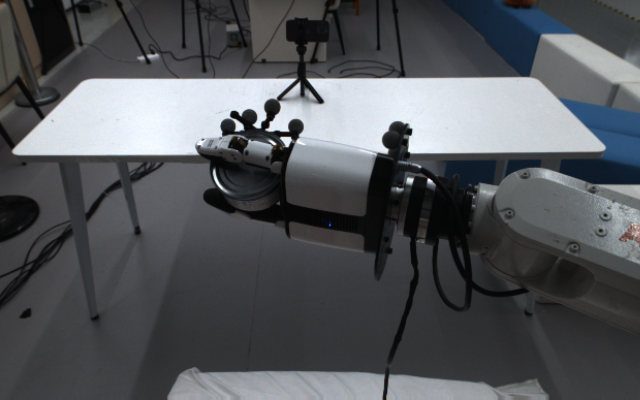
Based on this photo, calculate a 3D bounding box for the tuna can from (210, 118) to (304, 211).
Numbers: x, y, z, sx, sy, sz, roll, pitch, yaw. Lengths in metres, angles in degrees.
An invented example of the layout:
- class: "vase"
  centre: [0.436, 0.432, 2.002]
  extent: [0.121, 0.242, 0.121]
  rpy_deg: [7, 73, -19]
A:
- class: "tuna can"
  centre: [-0.071, -0.033, 0.523]
  extent: [0.085, 0.034, 0.085]
  rpy_deg: [-4, 61, 7]
